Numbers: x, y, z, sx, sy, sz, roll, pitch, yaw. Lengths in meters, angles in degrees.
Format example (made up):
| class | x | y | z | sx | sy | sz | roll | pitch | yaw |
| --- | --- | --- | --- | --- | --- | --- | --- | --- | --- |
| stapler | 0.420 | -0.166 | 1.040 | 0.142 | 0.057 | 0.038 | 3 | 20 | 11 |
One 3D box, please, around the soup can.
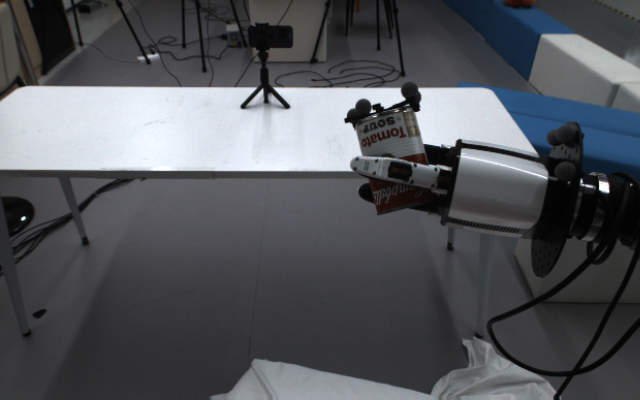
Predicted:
| class | x | y | z | sx | sy | sz | roll | pitch | yaw |
| --- | --- | --- | --- | --- | --- | --- | --- | --- | --- |
| soup can | 0.083 | -0.041 | 0.525 | 0.067 | 0.101 | 0.067 | -14 | -2 | -1 |
